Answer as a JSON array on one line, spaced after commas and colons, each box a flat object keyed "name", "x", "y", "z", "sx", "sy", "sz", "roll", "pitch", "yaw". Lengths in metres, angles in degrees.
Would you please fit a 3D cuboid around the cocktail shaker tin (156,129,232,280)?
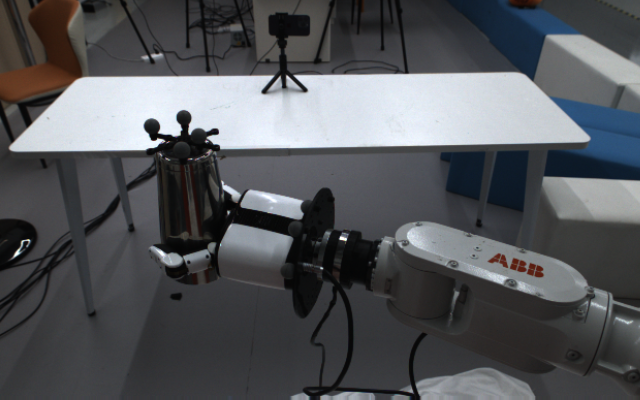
[{"name": "cocktail shaker tin", "x": -0.156, "y": 0.011, "z": 0.596, "sx": 0.093, "sy": 0.170, "sz": 0.093, "roll": 2, "pitch": 35, "yaw": -1}]
